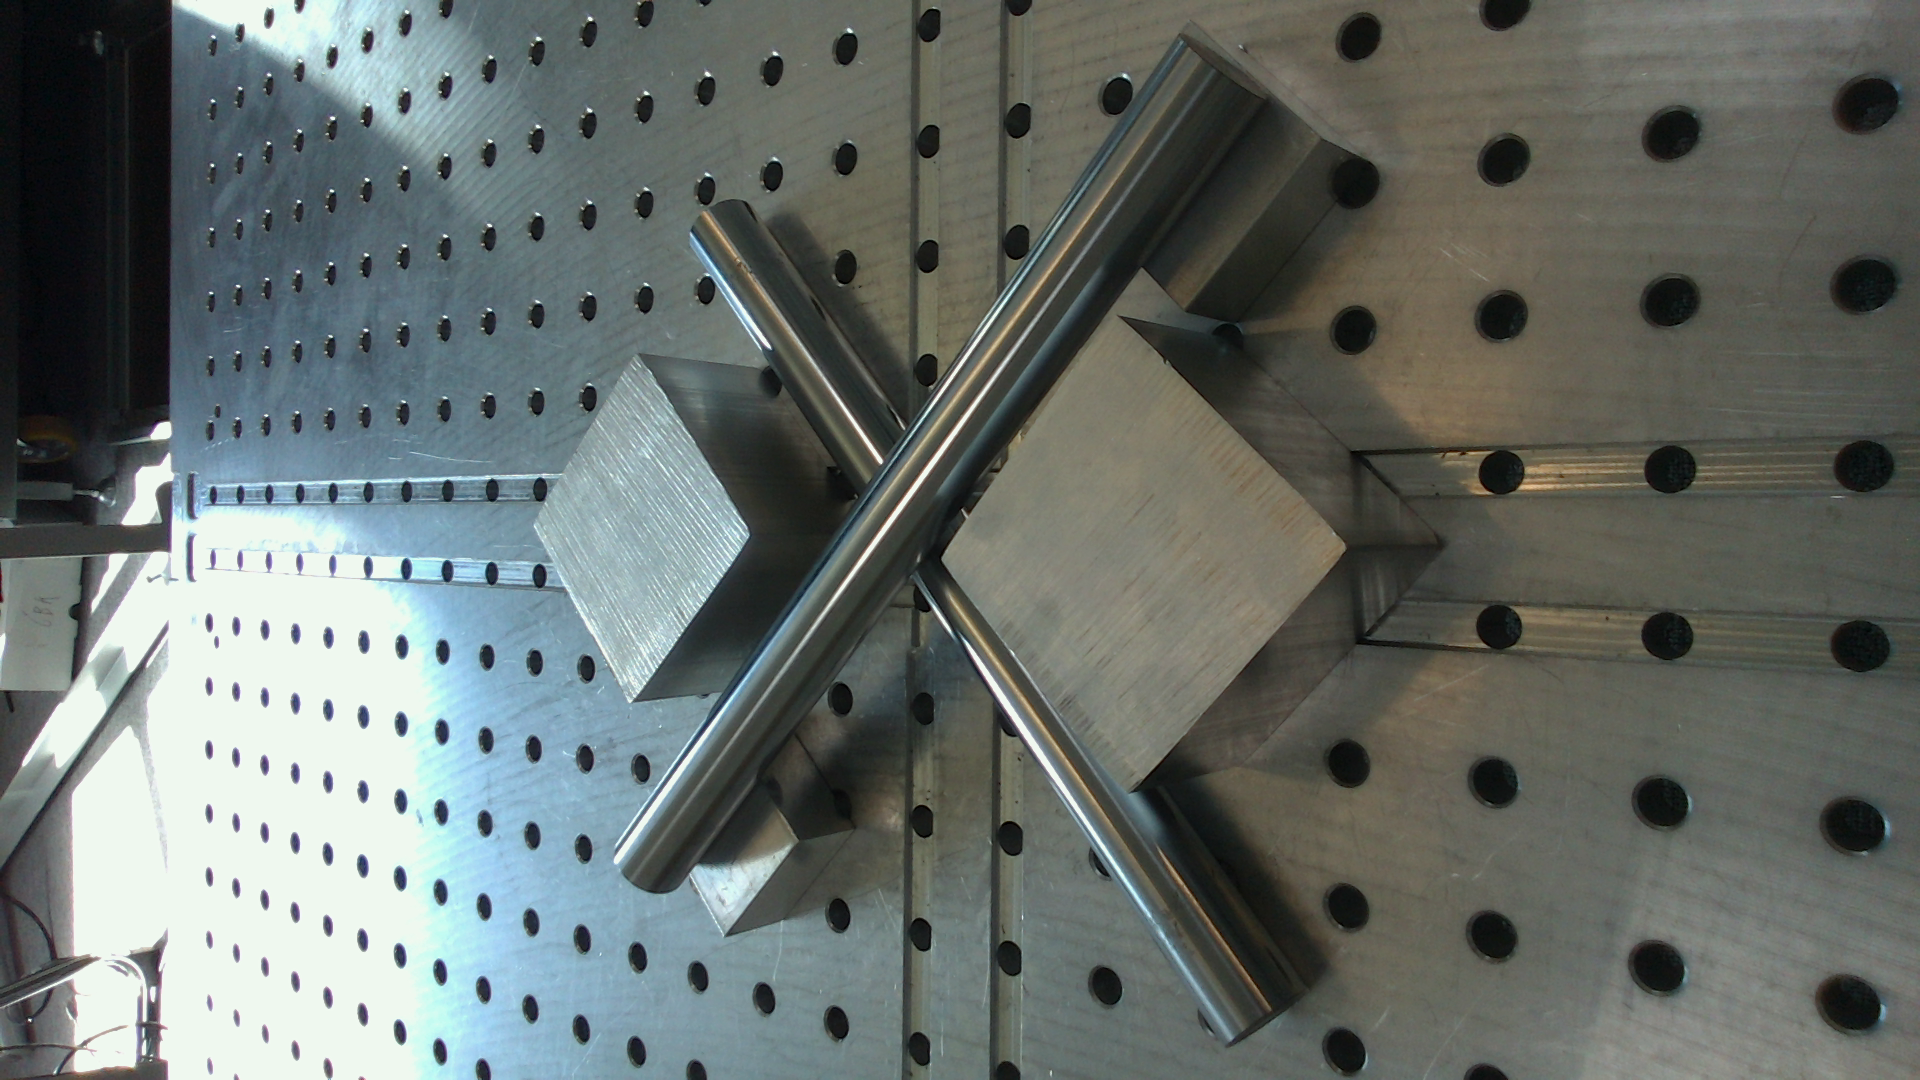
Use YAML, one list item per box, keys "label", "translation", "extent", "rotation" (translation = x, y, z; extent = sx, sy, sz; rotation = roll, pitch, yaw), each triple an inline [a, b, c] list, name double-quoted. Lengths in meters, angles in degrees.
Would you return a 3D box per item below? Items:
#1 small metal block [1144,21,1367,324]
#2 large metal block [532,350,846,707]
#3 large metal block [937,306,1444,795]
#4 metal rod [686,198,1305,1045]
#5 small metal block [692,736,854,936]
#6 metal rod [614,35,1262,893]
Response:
- label: "small metal block"
  translation: [0.063, -0.091, 0.345]
  extent: [0.050, 0.025, 0.050]
  rotation: [-52, 60, 27]
- label: "large metal block"
  translation: [-0.088, -0.004, 0.456]
  extent: [0.080, 0.050, 0.080]
  rotation: [-51, 60, 28]
- label: "large metal block"
  translation: [0.053, 0.002, 0.337]
  extent: [0.080, 0.050, 0.080]
  rotation: [51, 120, 28]
- label: "metal rod"
  translation: [-0.004, 0.005, 0.400]
  extent: [0.025, 0.025, 0.299]
  rotation: [-50, 60, 28]
- label: "small metal block"
  translation: [-0.069, 0.093, 0.456]
  extent: [0.050, 0.025, 0.050]
  rotation: [52, 121, 27]
- label: "metal rod"
  translation: [-0.021, -0.002, 0.382]
  extent: [0.025, 0.025, 0.299]
  rotation: [52, 121, 27]
